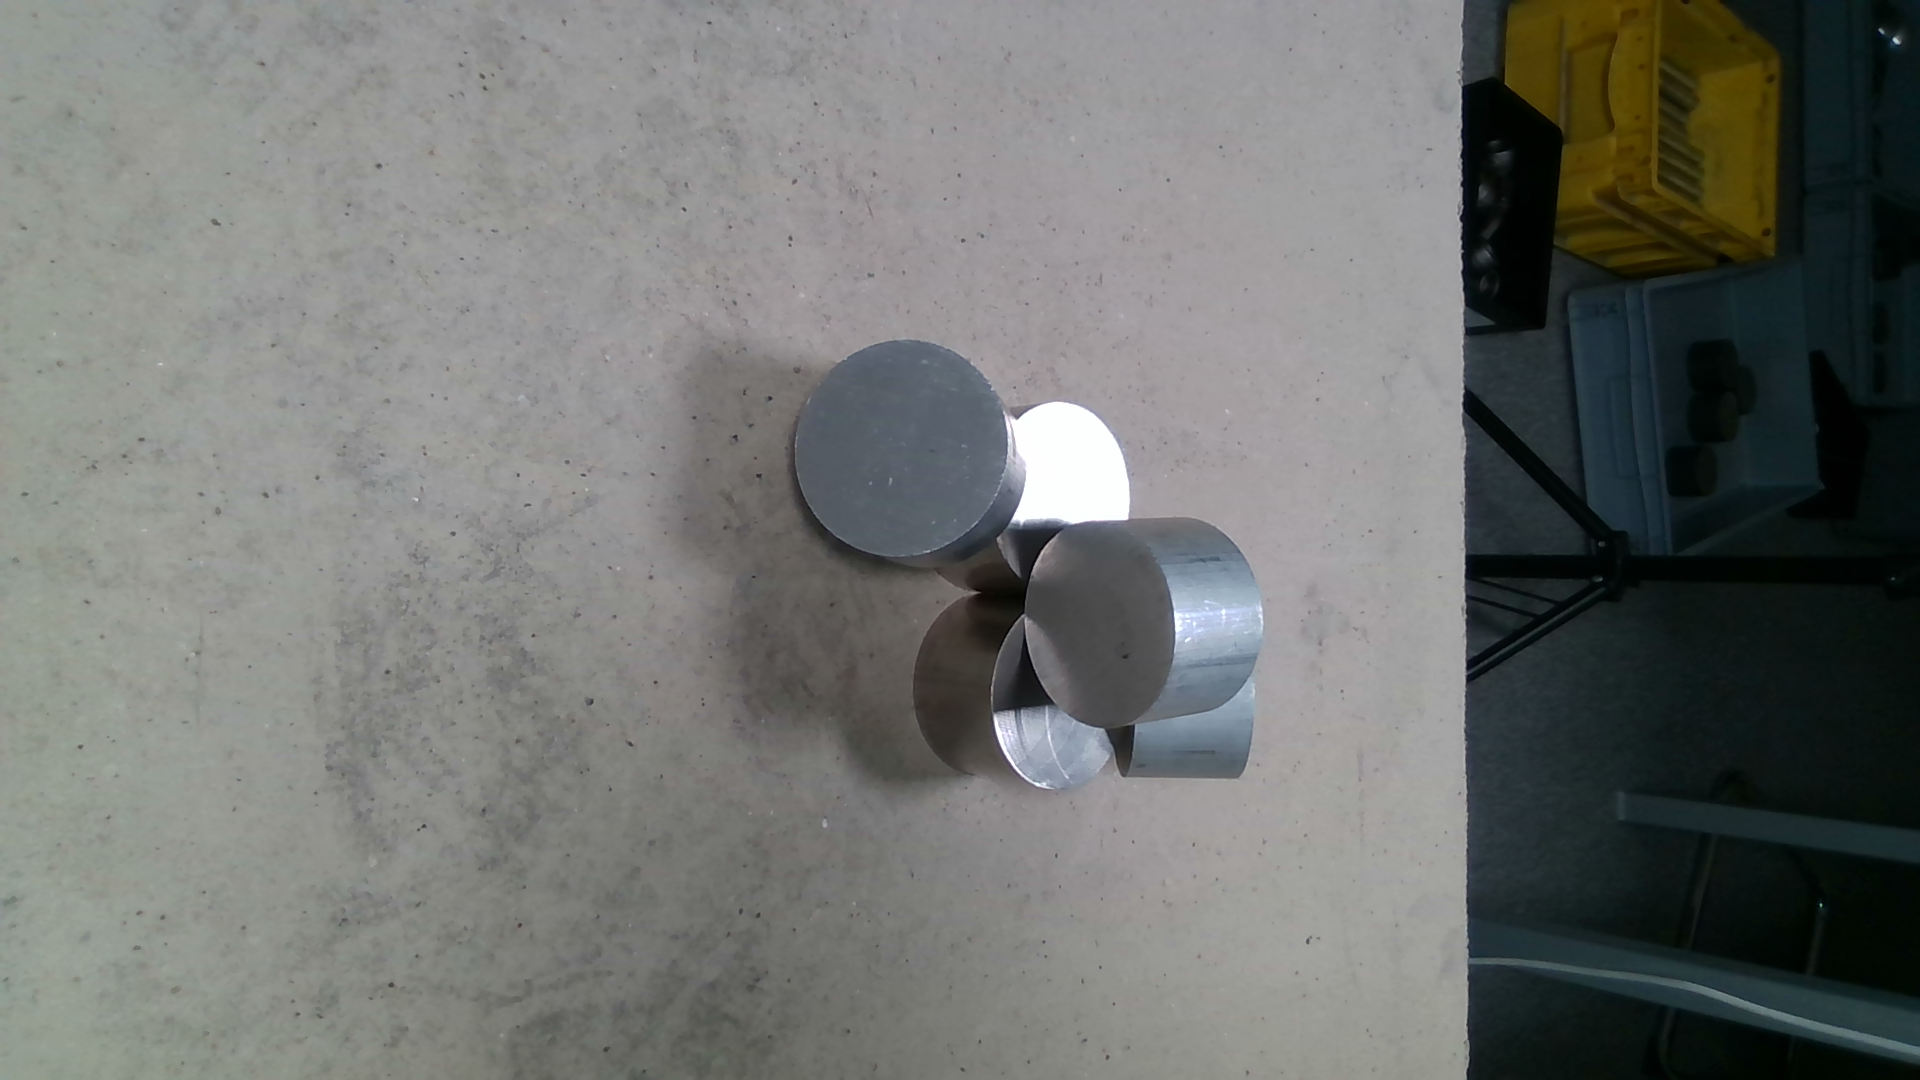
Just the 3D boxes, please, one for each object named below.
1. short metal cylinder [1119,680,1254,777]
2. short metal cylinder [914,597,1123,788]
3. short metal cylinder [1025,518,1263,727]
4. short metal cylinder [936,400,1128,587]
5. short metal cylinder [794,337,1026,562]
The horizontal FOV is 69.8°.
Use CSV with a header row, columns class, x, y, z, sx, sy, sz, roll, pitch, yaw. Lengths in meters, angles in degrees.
class,x,y,z,sx,sy,sz,roll,pitch,yaw
short metal cylinder,0.098,0.067,0.621,0.050,0.080,0.080,0,90,-2
short metal cylinder,0.027,0.063,0.589,0.080,0.050,0.080,0,90,-40
short metal cylinder,0.071,0.031,0.542,0.050,0.080,0.080,-2,91,-40
short metal cylinder,0.026,-0.018,0.588,0.080,0.050,0.080,0,90,-40
short metal cylinder,-0.017,-0.032,0.524,0.050,0.080,0.080,28,67,-78
